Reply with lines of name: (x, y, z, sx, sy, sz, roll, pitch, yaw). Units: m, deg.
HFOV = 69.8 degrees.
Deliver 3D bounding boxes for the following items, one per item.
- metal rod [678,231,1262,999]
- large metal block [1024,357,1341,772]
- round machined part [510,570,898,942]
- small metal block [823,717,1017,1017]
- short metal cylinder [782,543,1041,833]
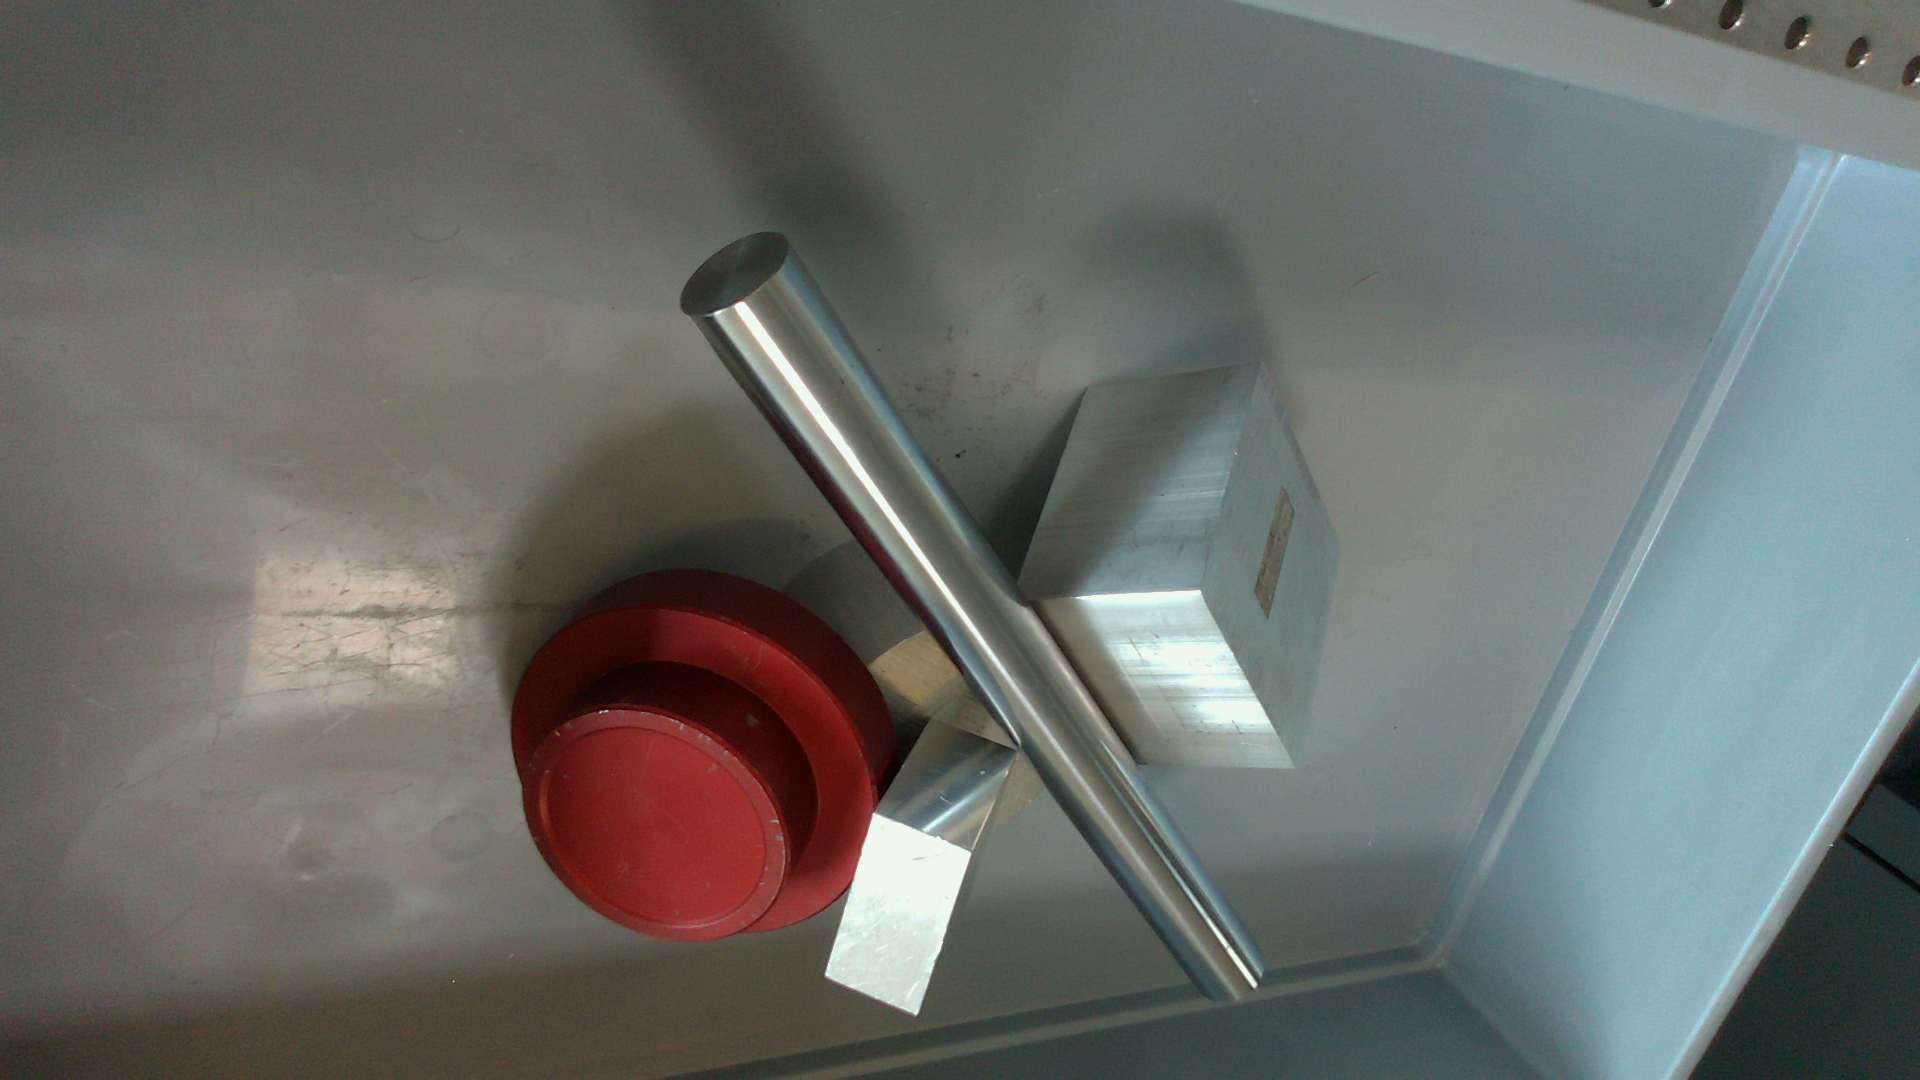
metal rod: (0.022, 0.044, 0.362, 0.025, 0.025, 0.301, -37, 129, -3)
large metal block: (0.065, 0.009, 0.384, 0.080, 0.050, 0.080, 55, 43, -39)
round machined part: (-0.068, 0.060, 0.344, 0.098, 0.042, 0.098, 6, 117, 12)
small metal block: (-0.009, 0.081, 0.349, 0.025, 0.050, 0.050, 20, 114, 7)
short metal cylinder: (-0.013, 0.044, 0.391, 0.080, 0.050, 0.080, -14, 124, -21)
